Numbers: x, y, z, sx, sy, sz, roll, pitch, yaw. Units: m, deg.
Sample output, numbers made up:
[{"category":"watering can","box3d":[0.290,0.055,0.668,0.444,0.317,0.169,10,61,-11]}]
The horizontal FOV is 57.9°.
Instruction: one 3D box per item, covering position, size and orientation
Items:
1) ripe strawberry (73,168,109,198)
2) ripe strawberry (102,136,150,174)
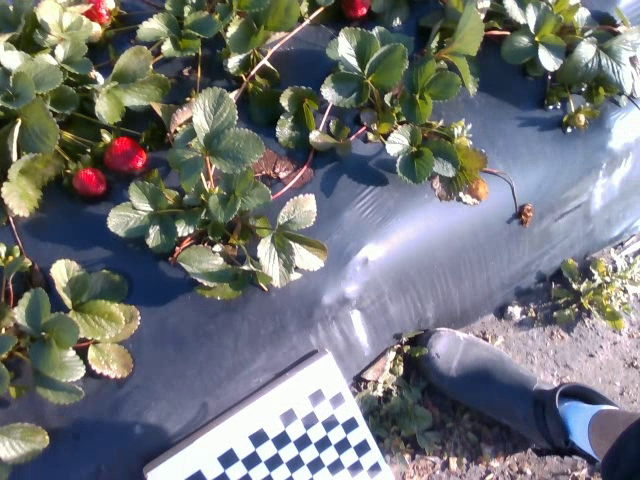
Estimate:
[{"category":"ripe strawberry","box3d":[-0.278,-0.068,0.699,0.051,0.043,0.036,25,11,22]},{"category":"ripe strawberry","box3d":[-0.238,-0.105,0.713,0.057,0.052,0.046,31,6,24]}]
